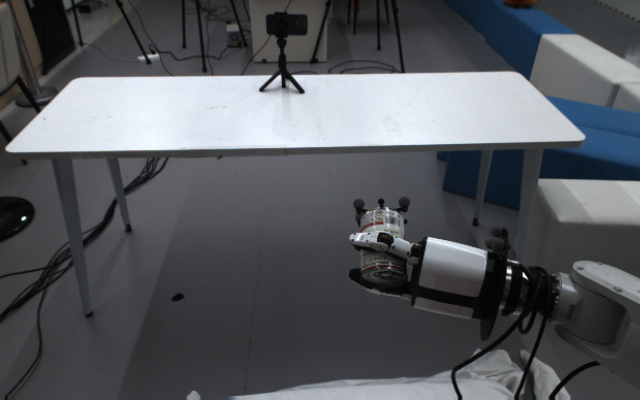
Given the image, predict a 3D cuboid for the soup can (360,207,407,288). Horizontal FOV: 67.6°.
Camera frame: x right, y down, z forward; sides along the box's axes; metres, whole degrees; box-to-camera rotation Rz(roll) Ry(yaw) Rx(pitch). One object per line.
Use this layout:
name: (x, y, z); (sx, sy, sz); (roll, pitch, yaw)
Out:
soup can: (0.094, 0.070, 0.713); (0.067, 0.067, 0.101); (3, 57, 1)
